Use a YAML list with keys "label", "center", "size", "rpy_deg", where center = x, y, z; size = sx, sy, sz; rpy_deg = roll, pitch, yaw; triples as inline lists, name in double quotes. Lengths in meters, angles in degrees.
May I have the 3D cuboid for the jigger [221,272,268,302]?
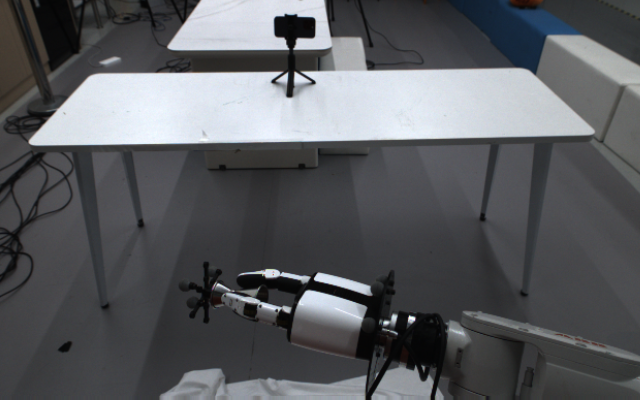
- label: "jigger"
  center: [-0.102, 0.129, 0.663]
  size: [0.071, 0.043, 0.043]
  rpy_deg: [3, 34, 17]
